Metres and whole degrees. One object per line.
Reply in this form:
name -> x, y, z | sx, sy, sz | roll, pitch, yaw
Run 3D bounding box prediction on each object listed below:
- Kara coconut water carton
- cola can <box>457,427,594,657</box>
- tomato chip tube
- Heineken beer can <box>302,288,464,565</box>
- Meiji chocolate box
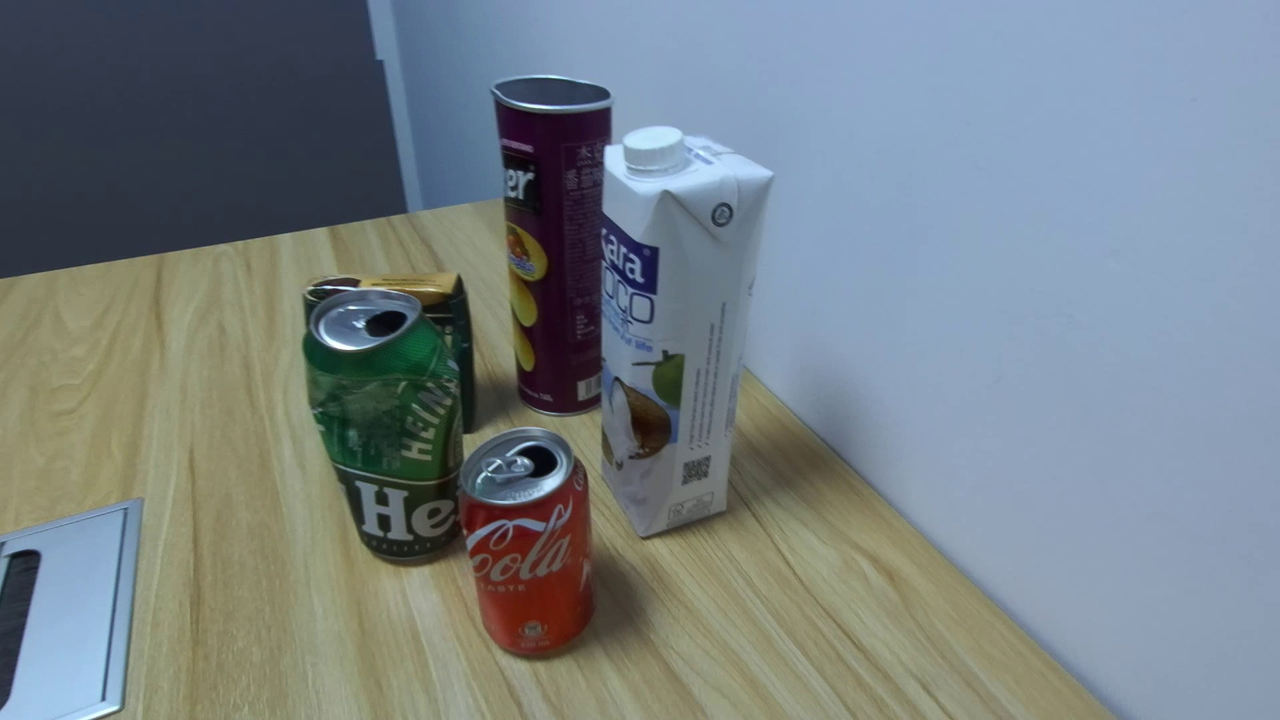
Kara coconut water carton -> 0.019, -0.011, 0.408 | 0.075, 0.245, 0.076 | -13, 37, -22
cola can -> -0.056, 0.097, 0.369 | 0.065, 0.117, 0.072 | 11, 36, 13
tomato chip tube -> -0.059, -0.074, 0.511 | 0.077, 0.234, 0.080 | -6, 35, -11
Heineken beer can -> -0.142, 0.041, 0.406 | 0.066, 0.164, 0.077 | -22, 41, -29
Meiji chocolate box -> -0.180, -0.003, 0.515 | 0.113, 0.111, 0.058 | -4, 23, -8
